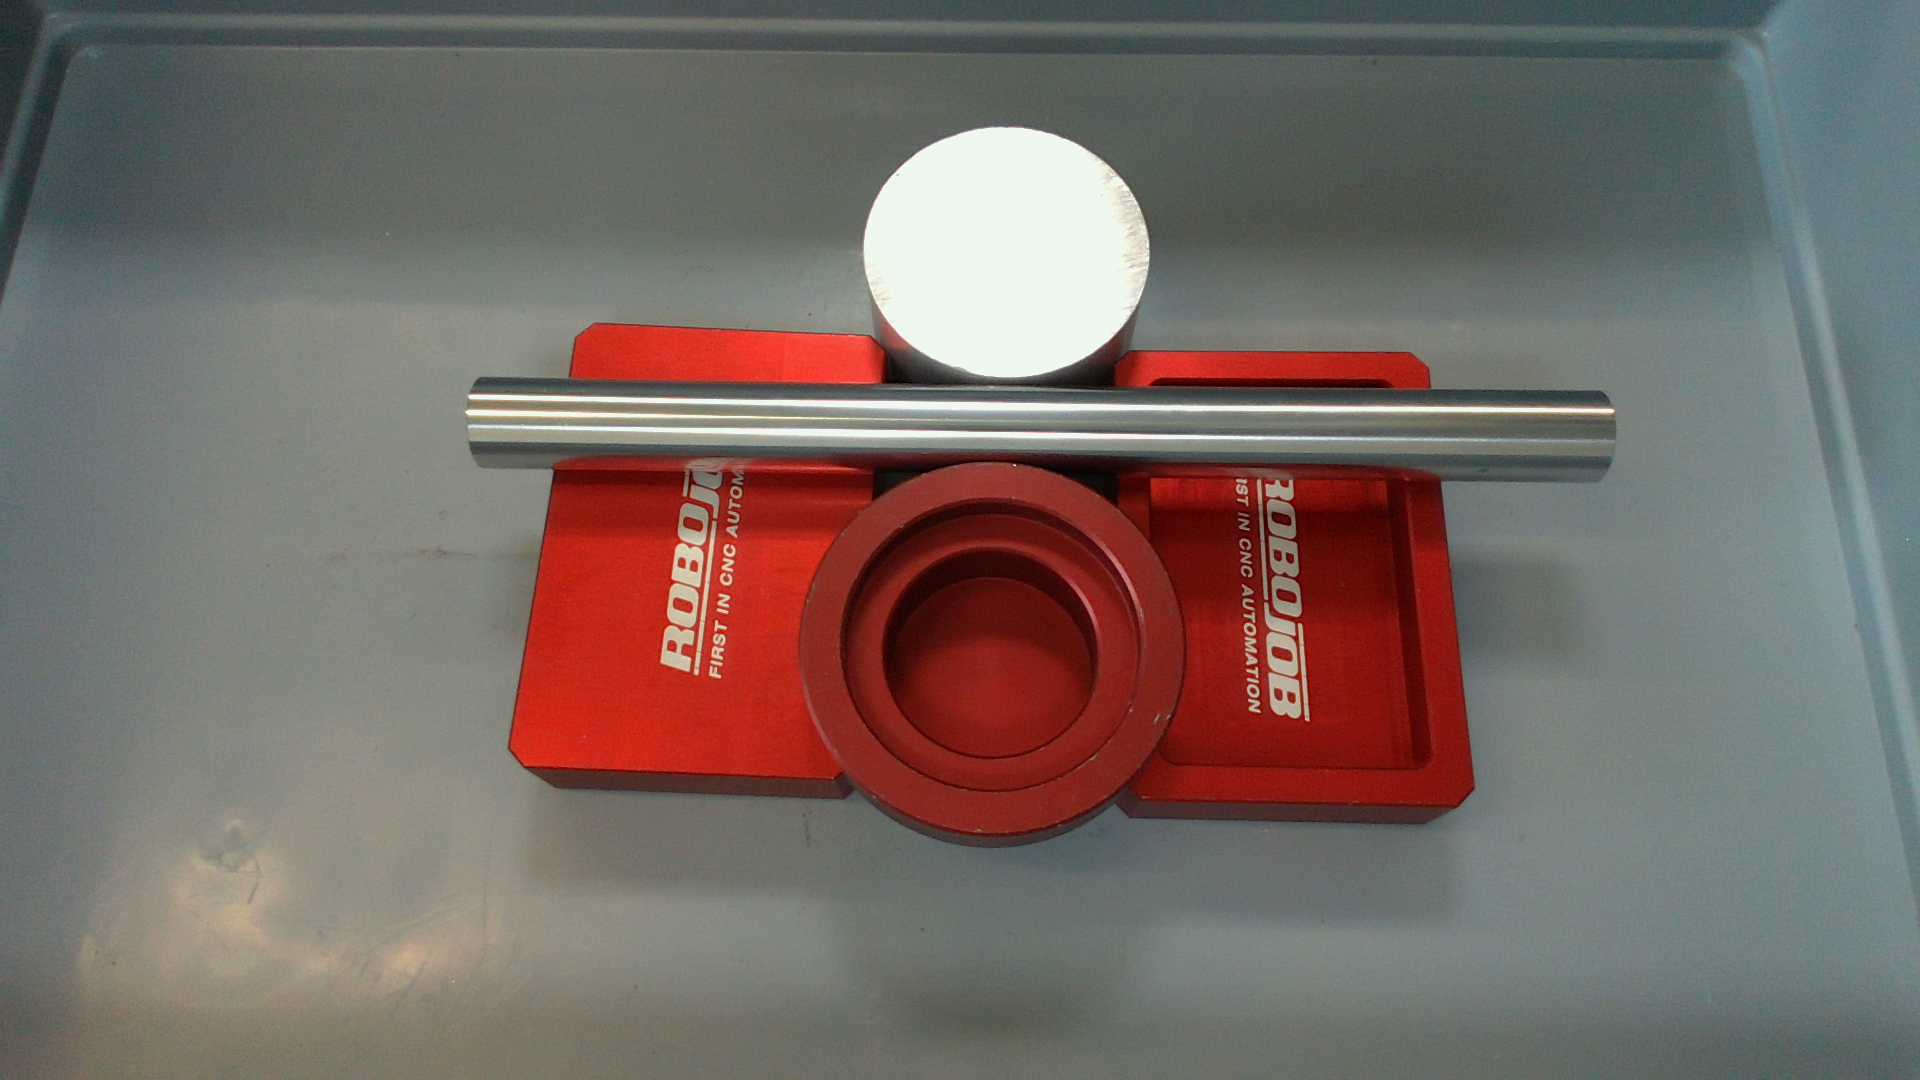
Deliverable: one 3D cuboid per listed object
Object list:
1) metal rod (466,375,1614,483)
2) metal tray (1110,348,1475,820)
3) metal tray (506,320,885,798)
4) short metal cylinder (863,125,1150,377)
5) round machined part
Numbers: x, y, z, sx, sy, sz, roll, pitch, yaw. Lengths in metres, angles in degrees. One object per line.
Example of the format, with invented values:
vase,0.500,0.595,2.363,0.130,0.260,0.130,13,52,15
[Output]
metal rod,0.021,-0.030,0.372,0.300,0.025,0.025,1,70,0
metal tray,0.088,0.011,0.386,0.090,0.030,0.130,1,70,0
metal tray,-0.069,0.004,0.388,0.090,0.030,0.130,3,70,1
short metal cylinder,0.013,-0.074,0.406,0.080,0.050,0.080,0,70,0
round machined part,0.008,0.032,0.363,0.098,0.042,0.098,0,70,0
